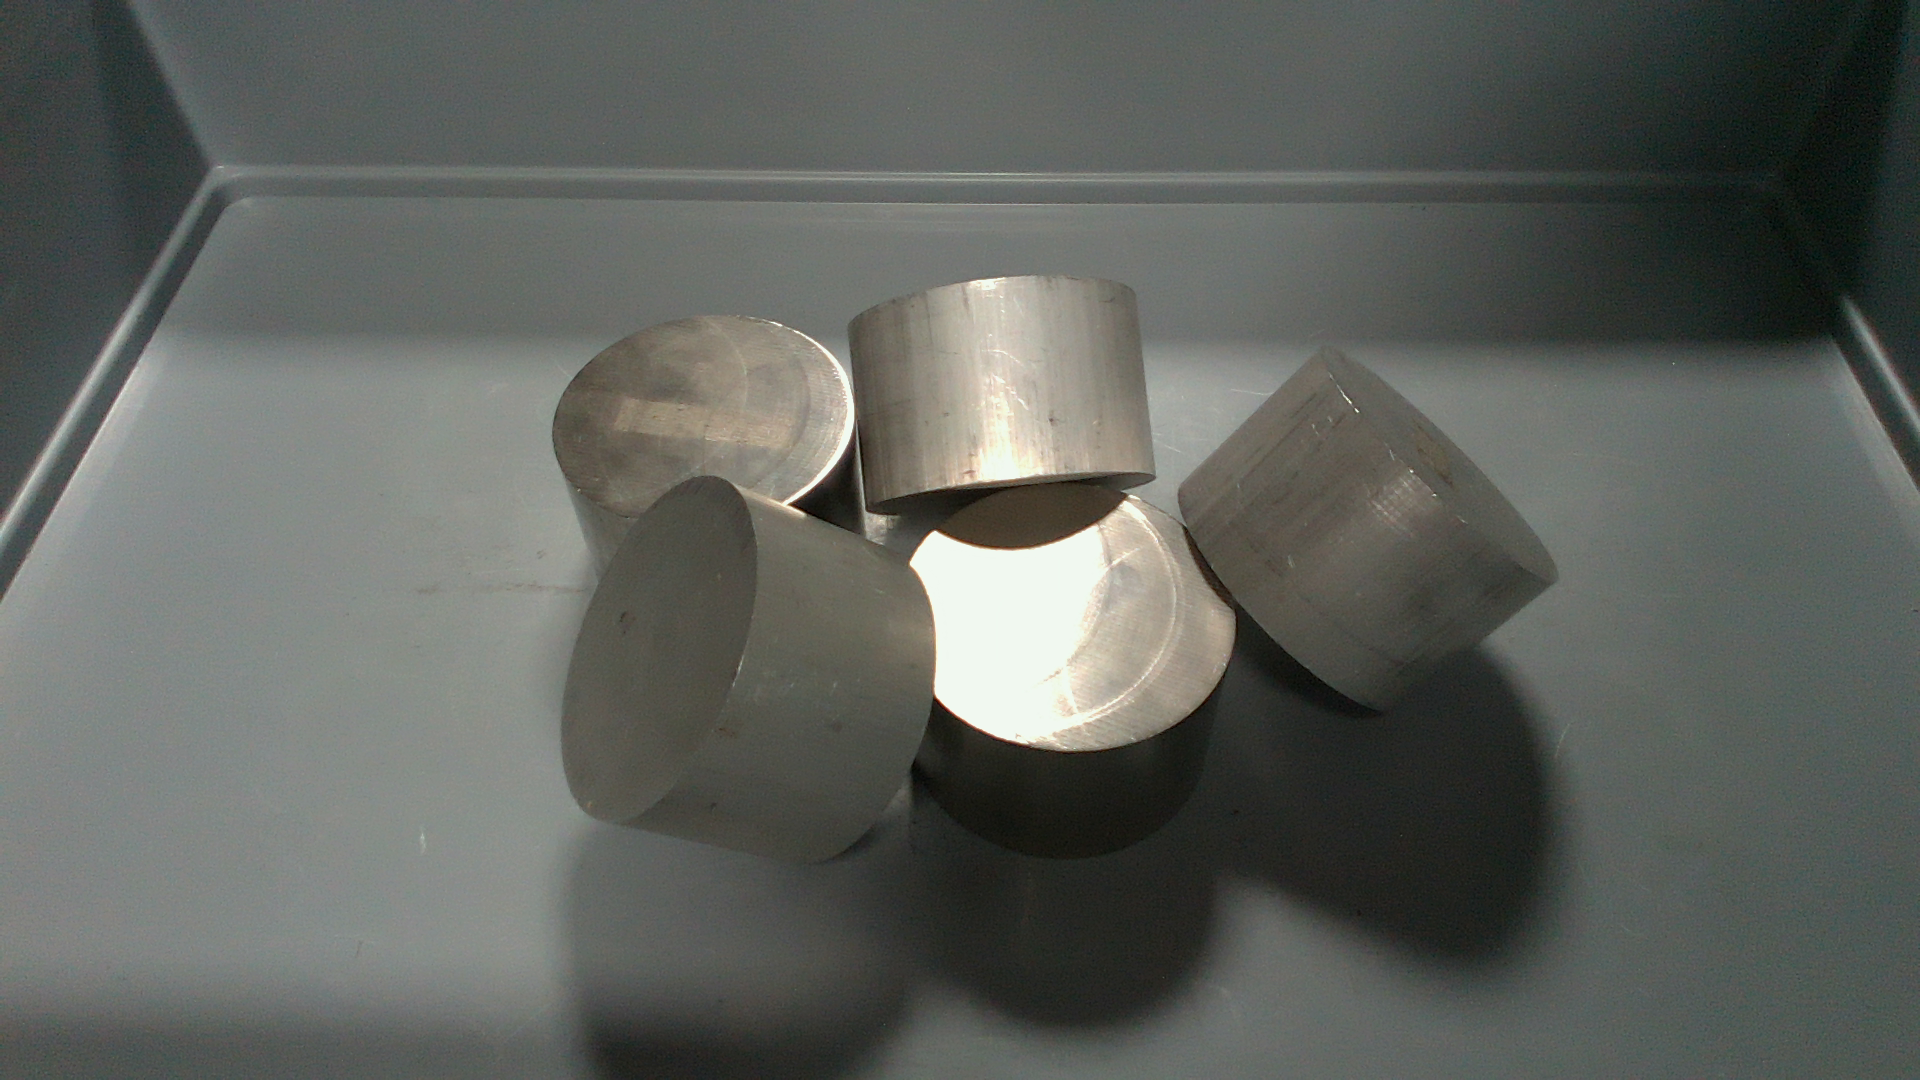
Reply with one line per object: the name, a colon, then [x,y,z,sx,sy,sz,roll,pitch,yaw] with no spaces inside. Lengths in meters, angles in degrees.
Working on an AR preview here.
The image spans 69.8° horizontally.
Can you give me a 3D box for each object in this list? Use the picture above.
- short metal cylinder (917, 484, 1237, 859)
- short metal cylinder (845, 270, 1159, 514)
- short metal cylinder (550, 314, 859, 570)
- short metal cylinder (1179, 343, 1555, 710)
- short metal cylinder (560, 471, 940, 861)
short metal cylinder: [0.026,0.032,0.347,0.080,0.050,0.080,0,50,0]
short metal cylinder: [0.011,-0.038,0.376,0.080,0.080,0.050,-6,86,-5]
short metal cylinder: [-0.069,-0.018,0.388,0.080,0.050,0.080,0,50,0]
short metal cylinder: [0.103,-0.004,0.350,0.080,0.050,0.080,34,26,-19]
short metal cylinder: [-0.050,0.030,0.320,0.050,0.080,0.080,24,38,-37]
